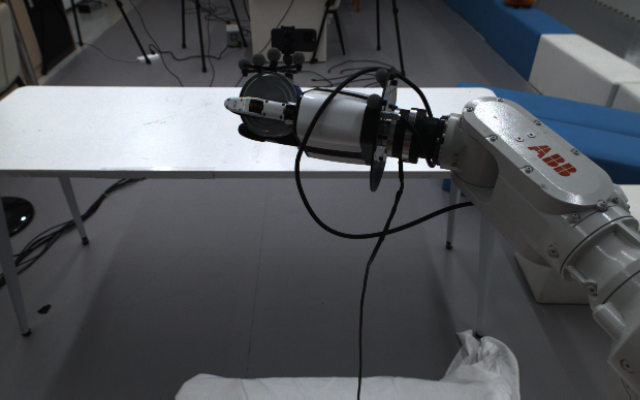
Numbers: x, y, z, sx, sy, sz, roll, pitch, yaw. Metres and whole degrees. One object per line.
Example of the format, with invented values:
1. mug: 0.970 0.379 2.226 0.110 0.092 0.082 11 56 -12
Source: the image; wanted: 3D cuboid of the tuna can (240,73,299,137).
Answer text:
1. tuna can: -0.064 -0.128 0.656 0.085 0.085 0.034 15 9 18
